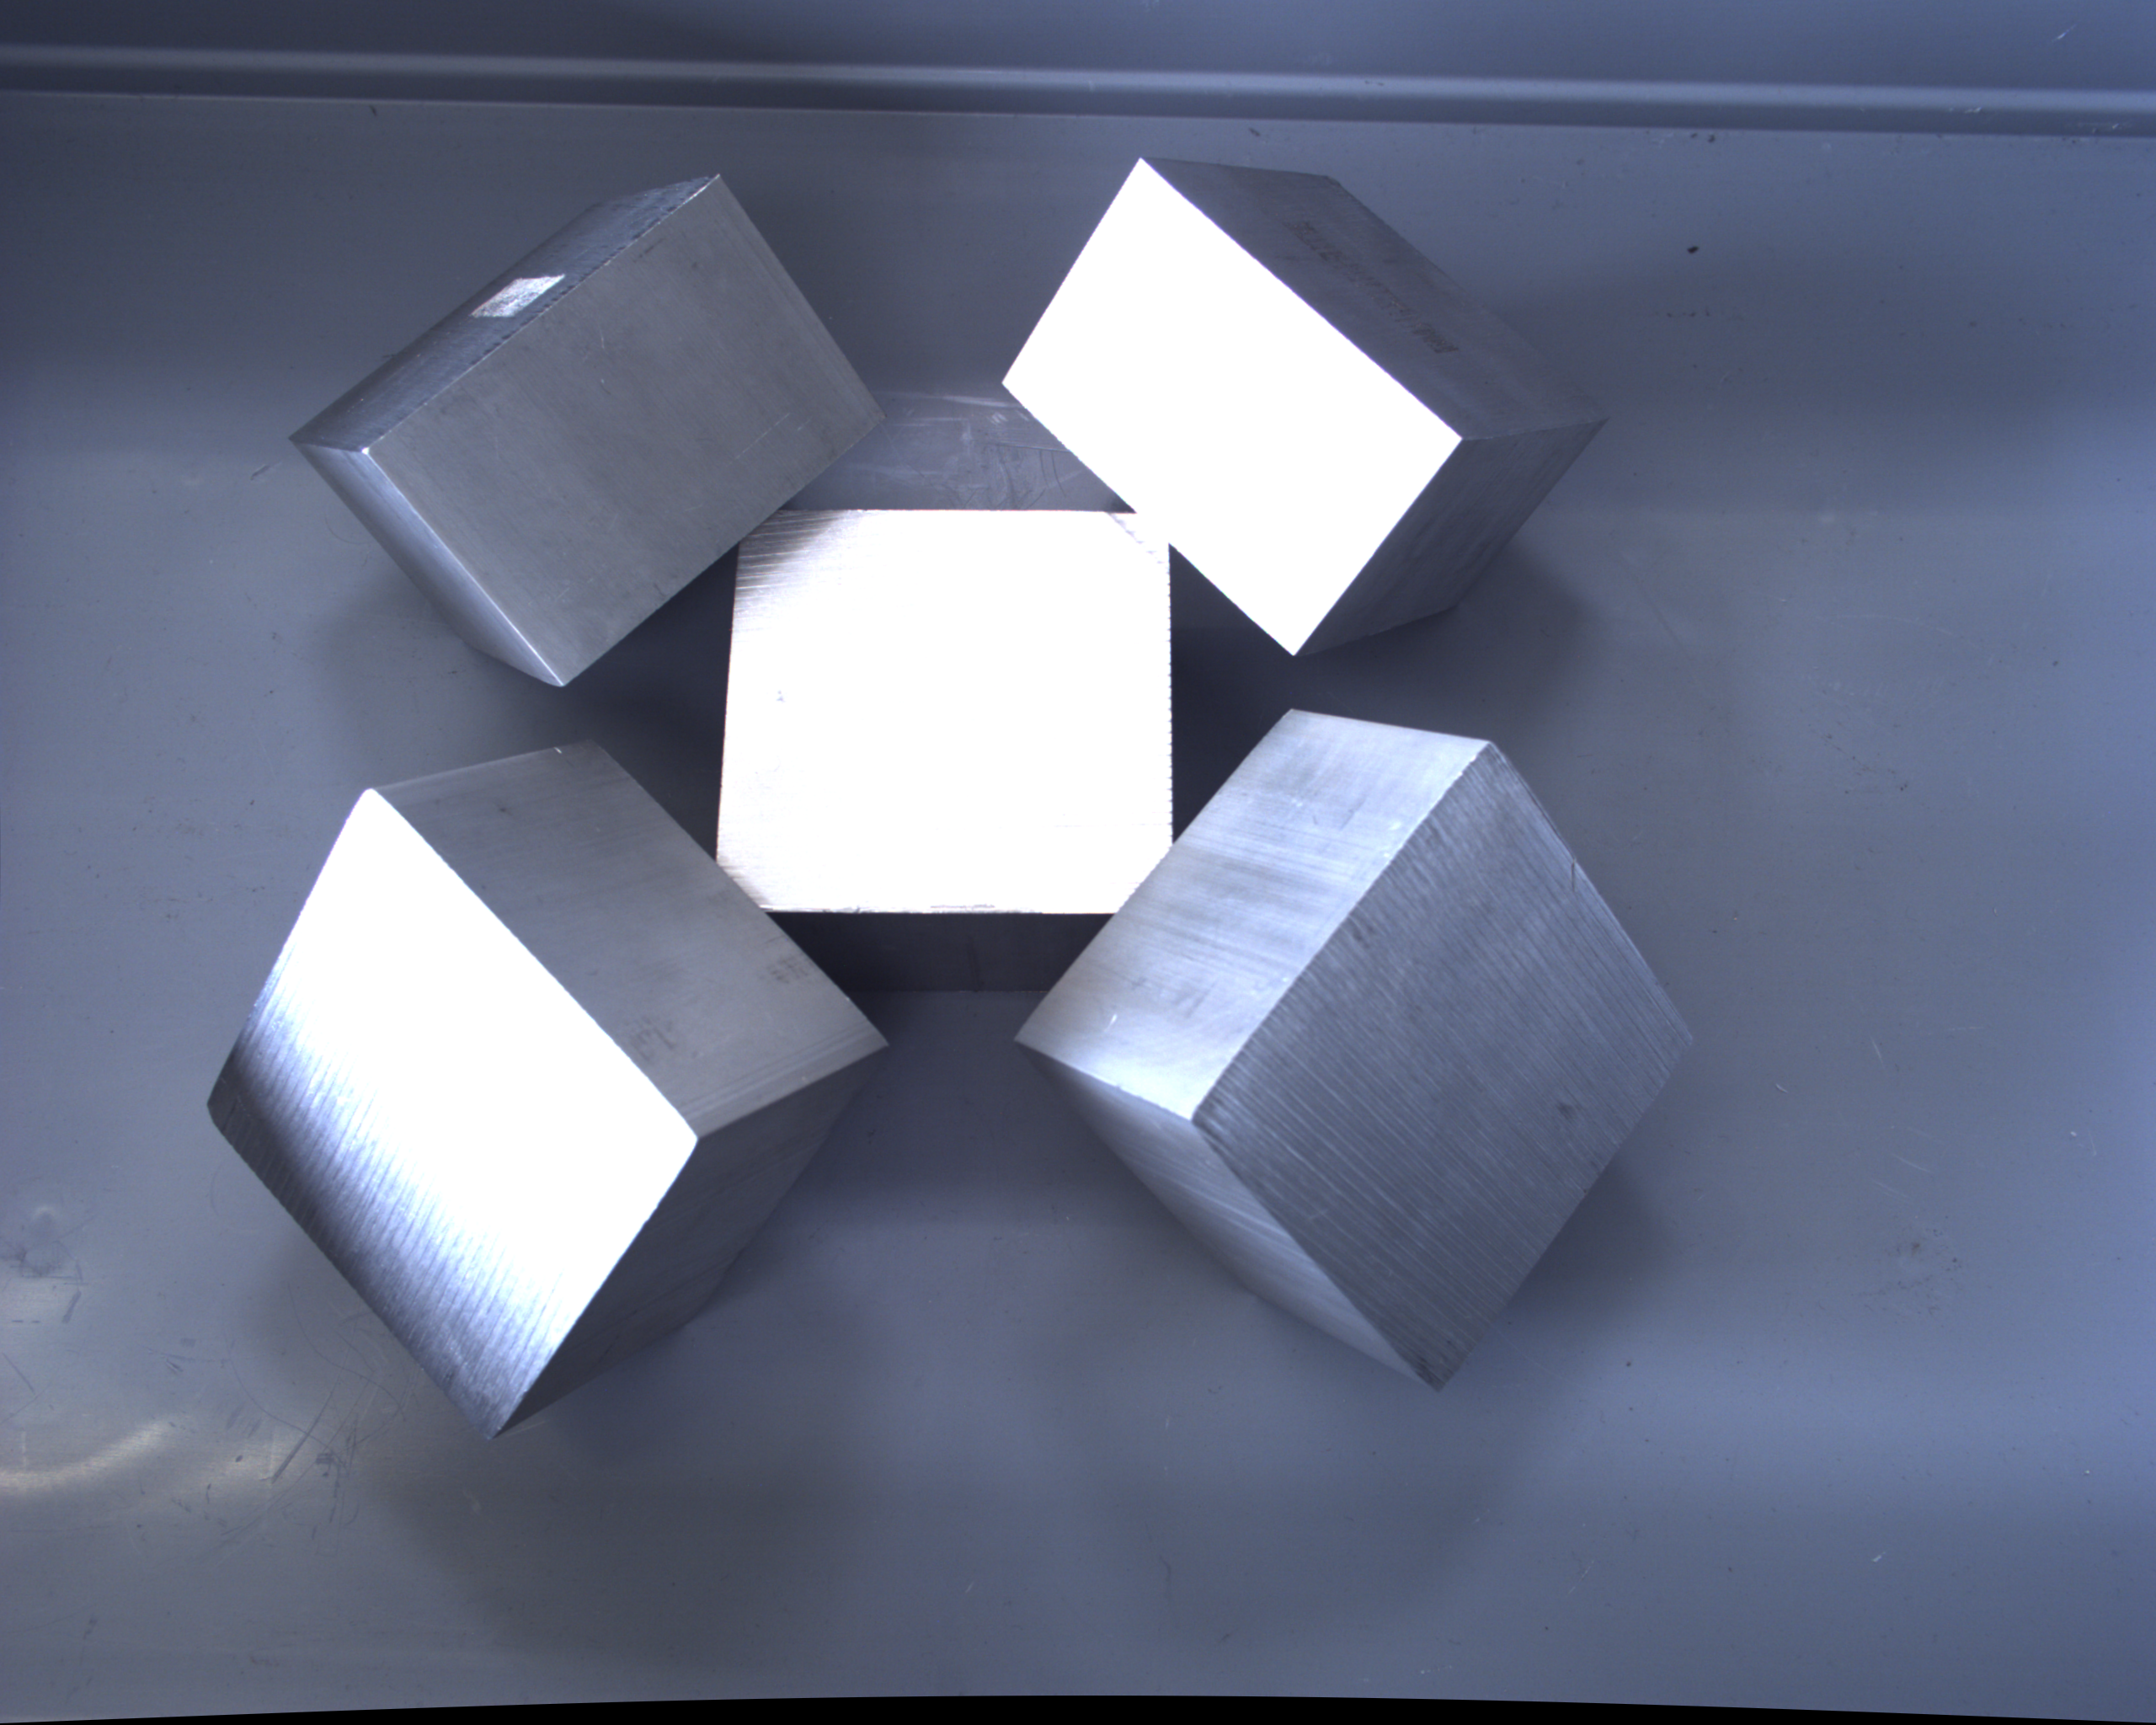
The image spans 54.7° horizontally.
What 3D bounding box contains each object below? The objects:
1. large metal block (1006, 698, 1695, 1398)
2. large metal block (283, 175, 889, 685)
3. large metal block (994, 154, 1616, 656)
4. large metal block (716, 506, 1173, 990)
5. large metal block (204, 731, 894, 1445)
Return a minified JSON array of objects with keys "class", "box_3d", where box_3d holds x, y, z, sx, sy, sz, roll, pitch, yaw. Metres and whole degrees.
[{"class":"large metal block","box_3d":[0.049,0.030,0.361,0.080,0.050,0.080,-50,122,-16]},{"class":"large metal block","box_3d":[-0.096,-0.084,0.400,0.080,0.080,0.050,-44,119,-15]},{"class":"large metal block","box_3d":[0.046,-0.091,0.406,0.080,0.050,0.081,45,33,15]},{"class":"large metal block","box_3d":[-0.023,-0.021,0.401,0.080,0.050,0.080,1,70,0]},{"class":"large metal block","box_3d":[-0.092,0.037,0.359,0.080,0.050,0.080,44,120,14]}]
